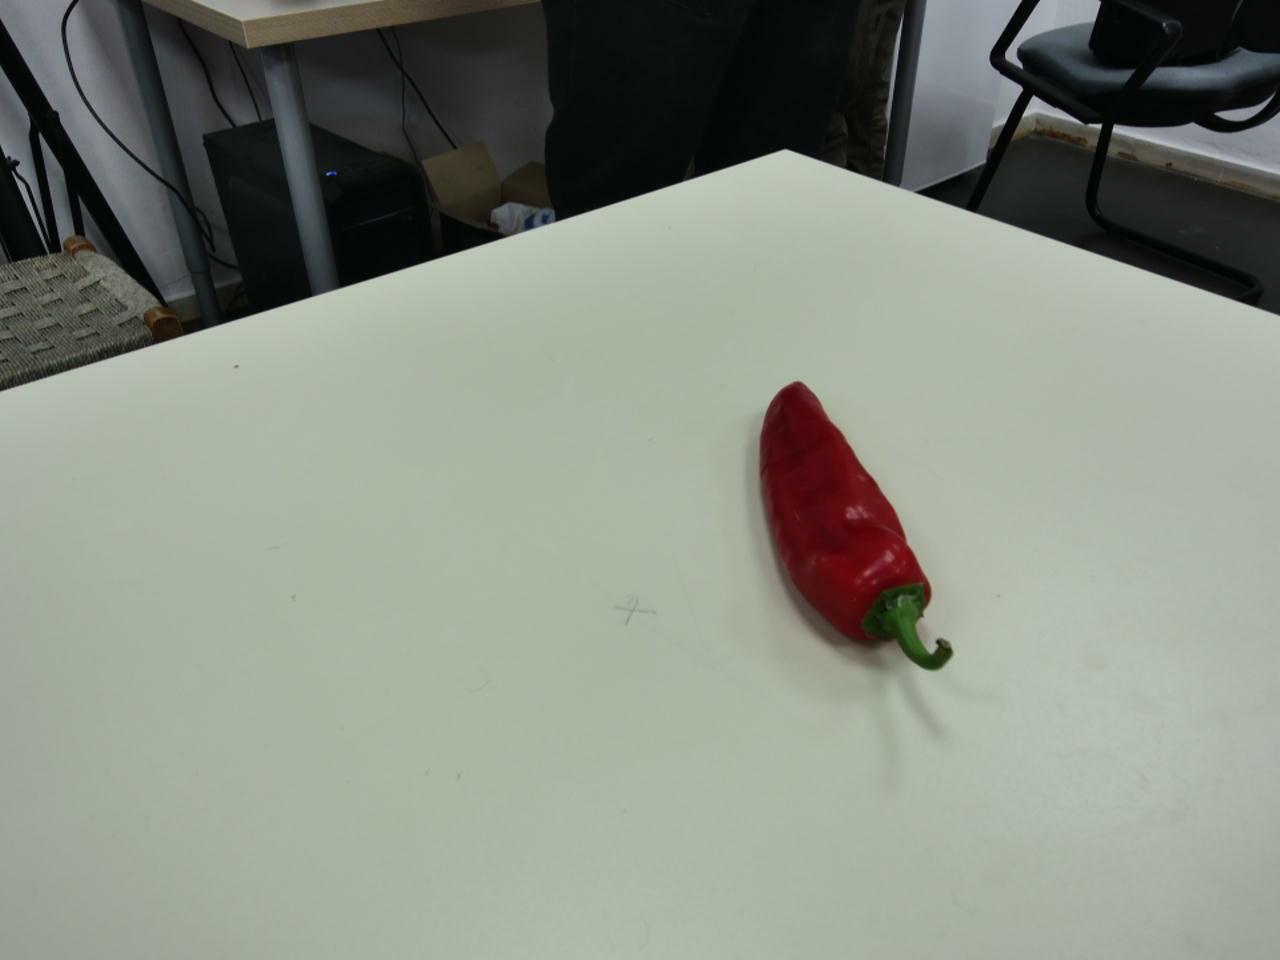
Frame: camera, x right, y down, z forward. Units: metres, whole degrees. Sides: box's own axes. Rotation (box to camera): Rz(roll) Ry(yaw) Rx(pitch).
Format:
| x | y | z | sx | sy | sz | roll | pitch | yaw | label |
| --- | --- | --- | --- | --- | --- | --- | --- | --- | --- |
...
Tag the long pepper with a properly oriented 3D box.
| x | y | z | sx | sy | sz | roll | pitch | yaw | label |
| --- | --- | --- | --- | --- | --- | --- | --- | --- | --- |
| 0.082 | 0.011 | 0.430 | 0.050 | 0.043 | 0.211 | -4 | 35 | -4 | long pepper |
